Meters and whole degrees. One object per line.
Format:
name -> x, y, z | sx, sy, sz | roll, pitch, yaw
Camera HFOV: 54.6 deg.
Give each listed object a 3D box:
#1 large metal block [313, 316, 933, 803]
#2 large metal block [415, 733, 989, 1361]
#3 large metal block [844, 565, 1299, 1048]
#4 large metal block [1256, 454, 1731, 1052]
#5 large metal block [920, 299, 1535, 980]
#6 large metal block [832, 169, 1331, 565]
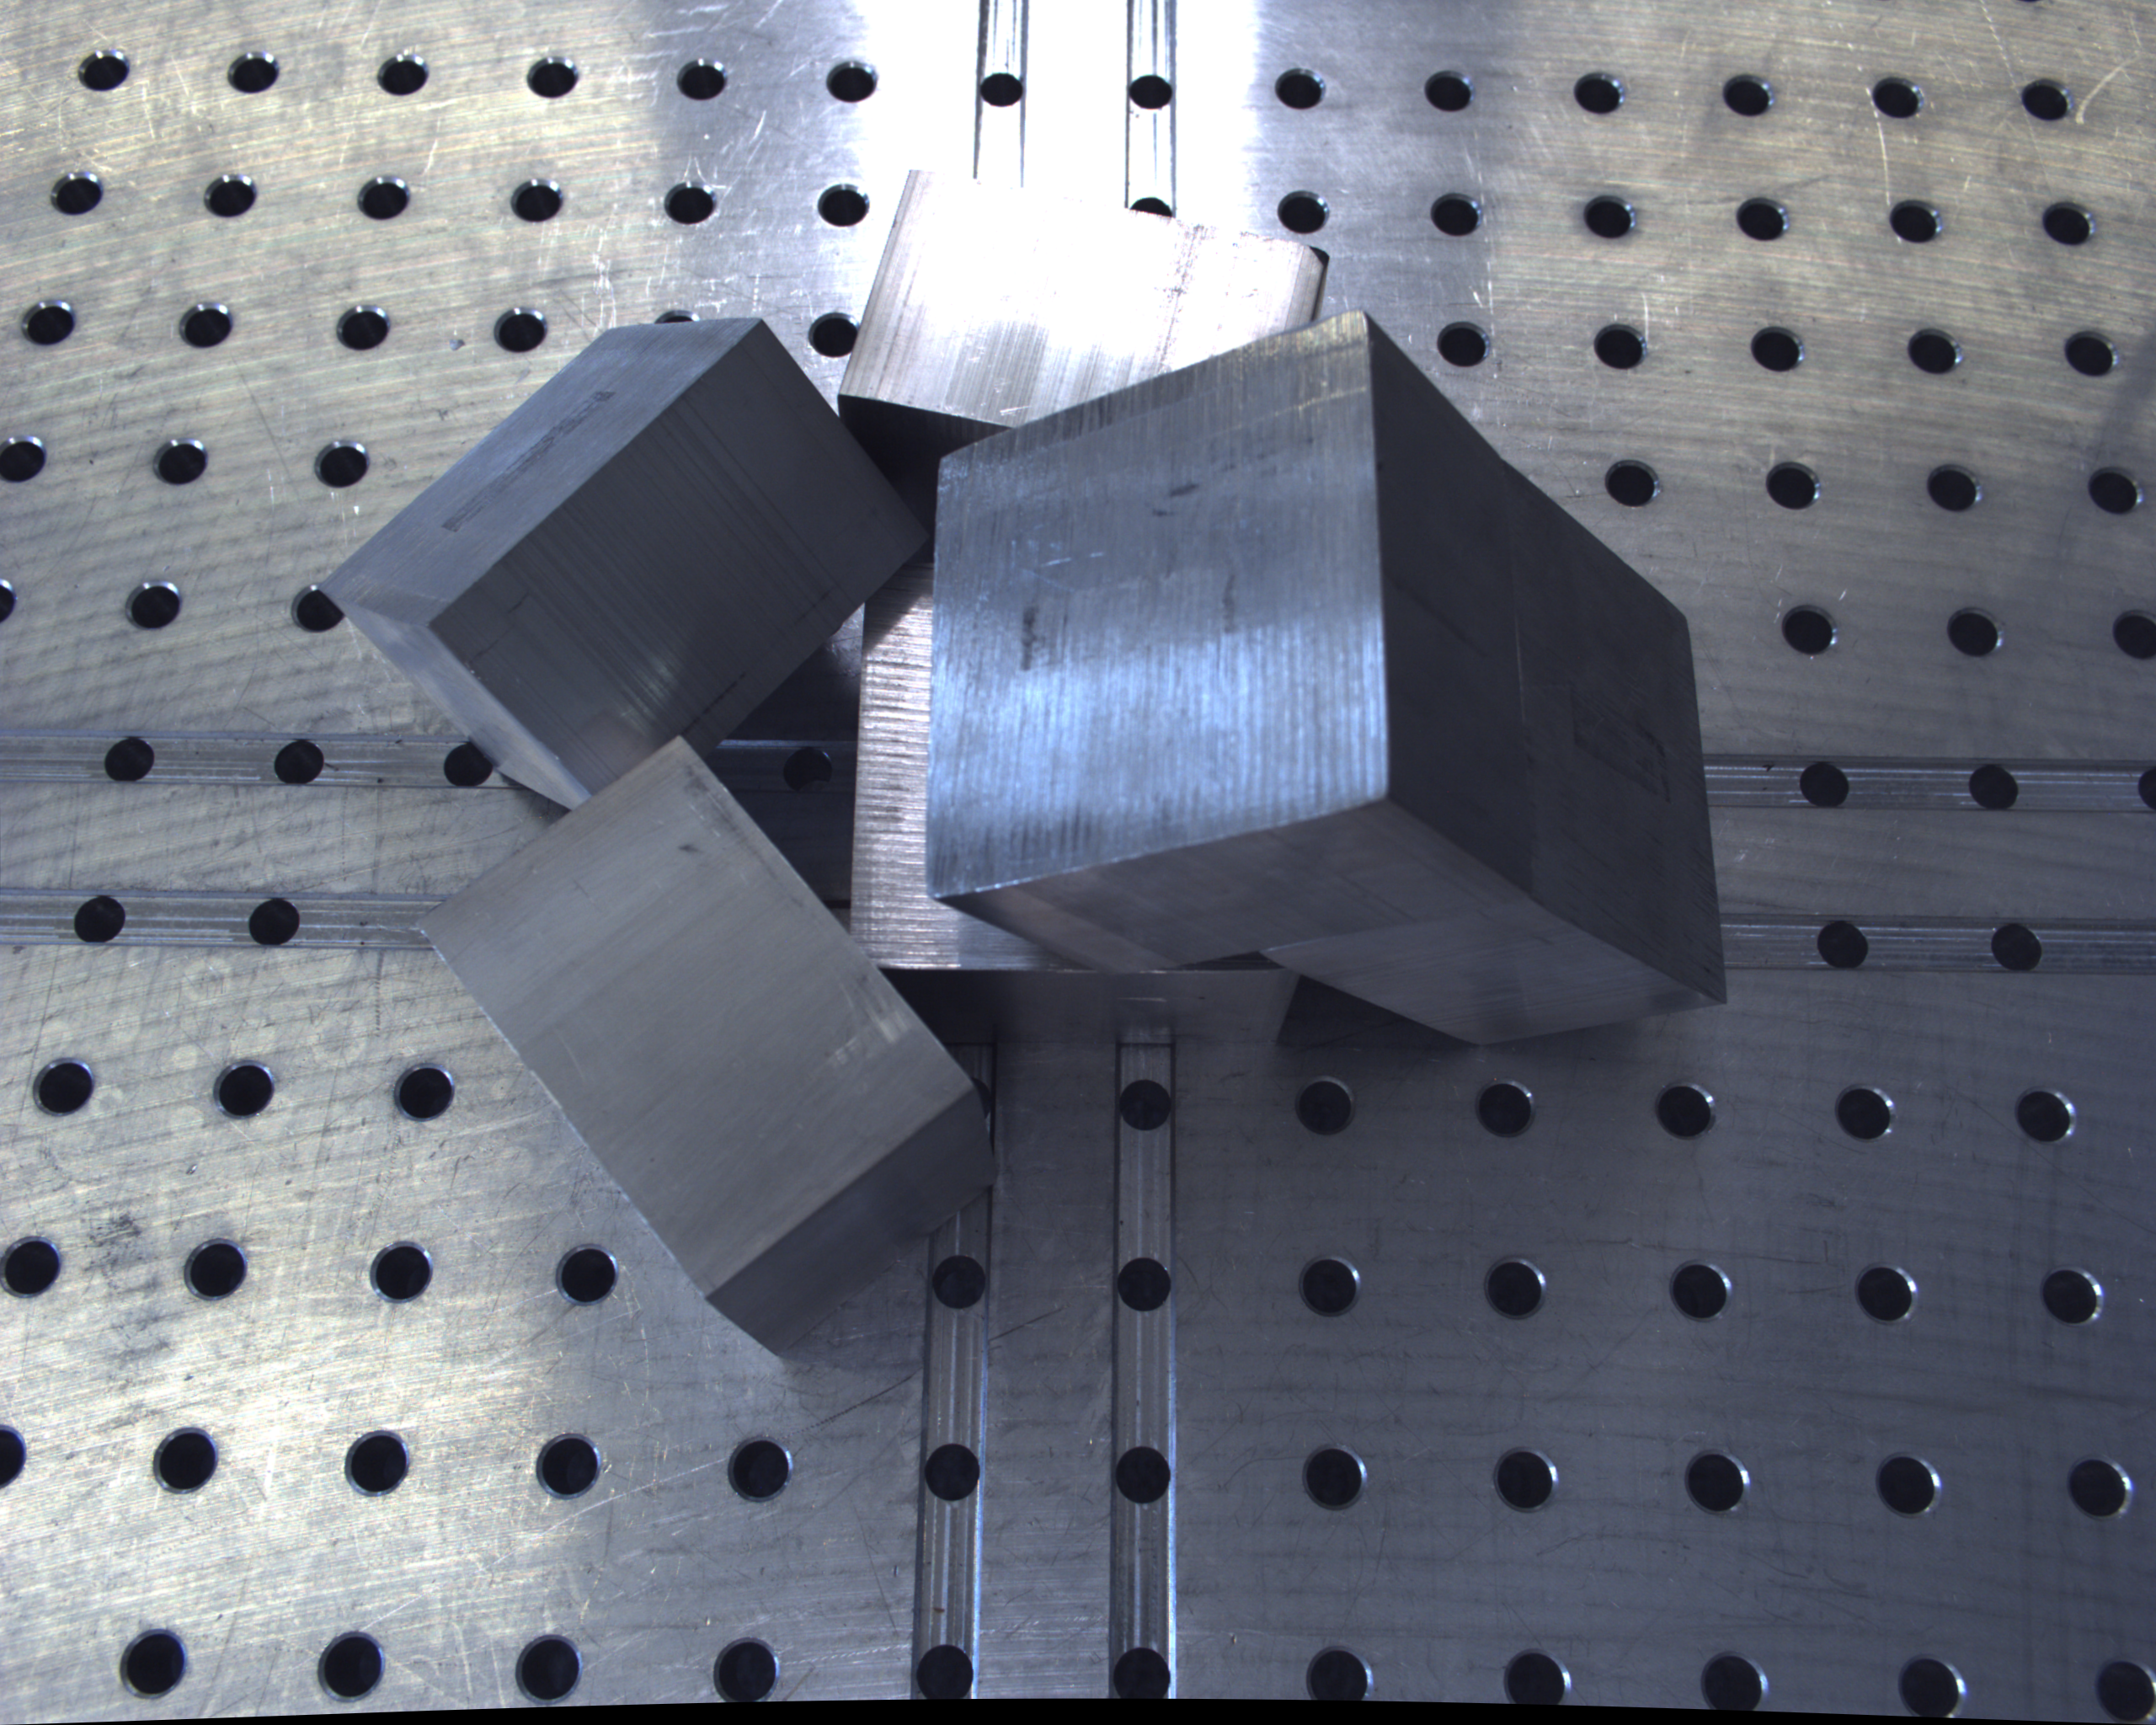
large metal block -> -0.088, -0.057, 0.396 | 0.080, 0.080, 0.050 | -47, 121, -15
large metal block -> -0.062, 0.036, 0.368 | 0.050, 0.080, 0.080 | -38, 75, -13
large metal block -> -0.001, -0.010, 0.402 | 0.080, 0.050, 0.080 | 1, 70, 0
large metal block -> 0.075, -0.016, 0.380 | 0.050, 0.080, 0.080 | -15, 65, 35
large metal block -> 0.023, -0.032, 0.337 | 0.080, 0.050, 0.080 | -13, 65, 32
large metal block -> 0.002, -0.084, 0.414 | 0.080, 0.080, 0.050 | 12, 71, 5
